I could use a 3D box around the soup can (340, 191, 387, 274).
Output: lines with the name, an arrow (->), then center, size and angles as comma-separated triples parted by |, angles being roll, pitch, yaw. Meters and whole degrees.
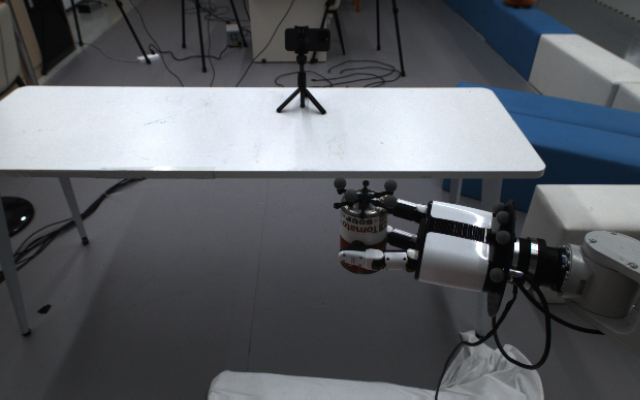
soup can -> 0.063, 0.043, 0.681 | 0.067, 0.101, 0.067 | -2, 34, 1
